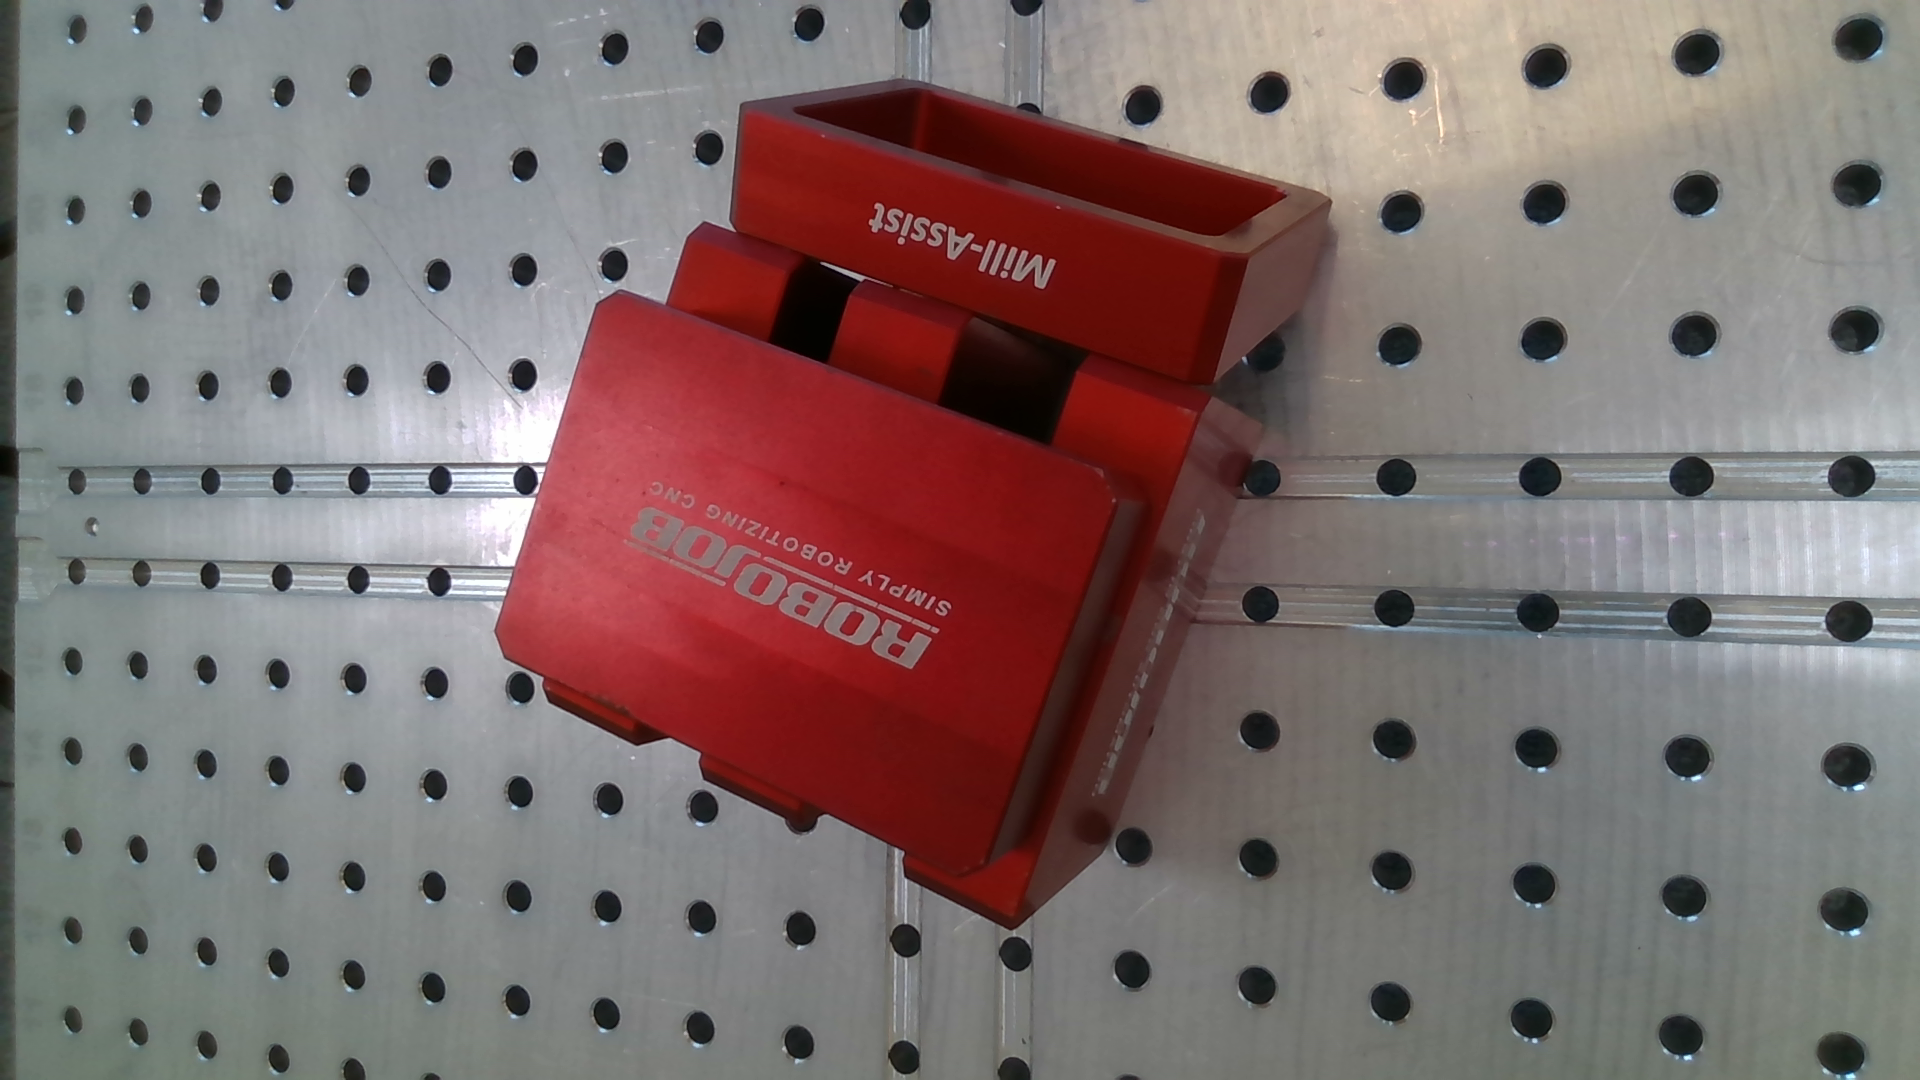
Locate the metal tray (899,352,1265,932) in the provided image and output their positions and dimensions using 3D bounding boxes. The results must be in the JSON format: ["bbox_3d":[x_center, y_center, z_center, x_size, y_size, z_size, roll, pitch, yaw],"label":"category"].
[{"bbox_3d":[0.034,0.024,0.348,0.030,0.090,0.130,22,97,19],"label":"metal tray"}]

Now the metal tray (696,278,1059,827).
[{"bbox_3d":[-0.018,0.003,0.367,0.030,0.090,0.130,21,98,18],"label":"metal tray"}]

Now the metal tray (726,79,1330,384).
[{"bbox_3d":[0.019,-0.084,0.351,0.130,0.090,0.030,22,119,18],"label":"metal tray"}]

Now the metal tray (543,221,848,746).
[{"bbox_3d":[-0.059,-0.014,0.383,0.030,0.090,0.130,22,98,19],"label":"metal tray"}]

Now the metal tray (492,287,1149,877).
[{"bbox_3d":[-0.034,0.006,0.310,0.130,0.030,0.090,22,97,19],"label":"metal tray"}]
